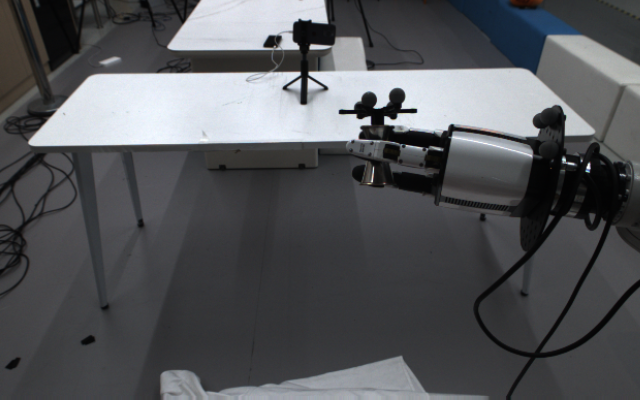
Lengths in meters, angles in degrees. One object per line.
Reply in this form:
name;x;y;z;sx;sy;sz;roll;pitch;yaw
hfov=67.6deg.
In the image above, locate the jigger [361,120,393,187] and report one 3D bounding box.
jigger;0.067;-0.051;0.566;0.043;0.071;0.043;-1;2;0
